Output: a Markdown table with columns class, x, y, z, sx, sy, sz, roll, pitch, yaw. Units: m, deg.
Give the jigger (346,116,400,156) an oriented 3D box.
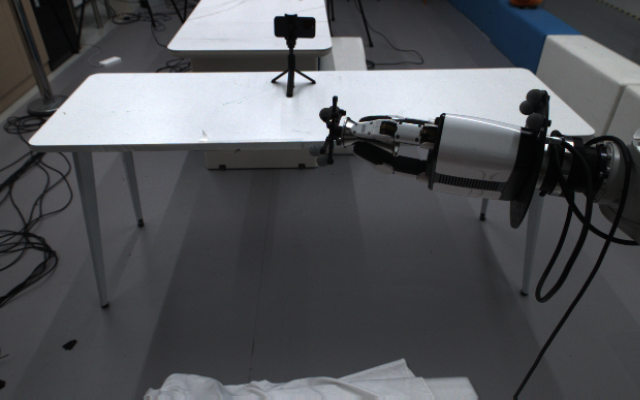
| class | x | y | z | sx | sy | sz | roll | pitch | yaw |
| --- | --- | --- | --- | --- | --- | --- | --- | --- | --- |
| jigger | 0.070 | -0.083 | 0.607 | 0.071 | 0.043 | 0.043 | 10 | 35 | 16 |
